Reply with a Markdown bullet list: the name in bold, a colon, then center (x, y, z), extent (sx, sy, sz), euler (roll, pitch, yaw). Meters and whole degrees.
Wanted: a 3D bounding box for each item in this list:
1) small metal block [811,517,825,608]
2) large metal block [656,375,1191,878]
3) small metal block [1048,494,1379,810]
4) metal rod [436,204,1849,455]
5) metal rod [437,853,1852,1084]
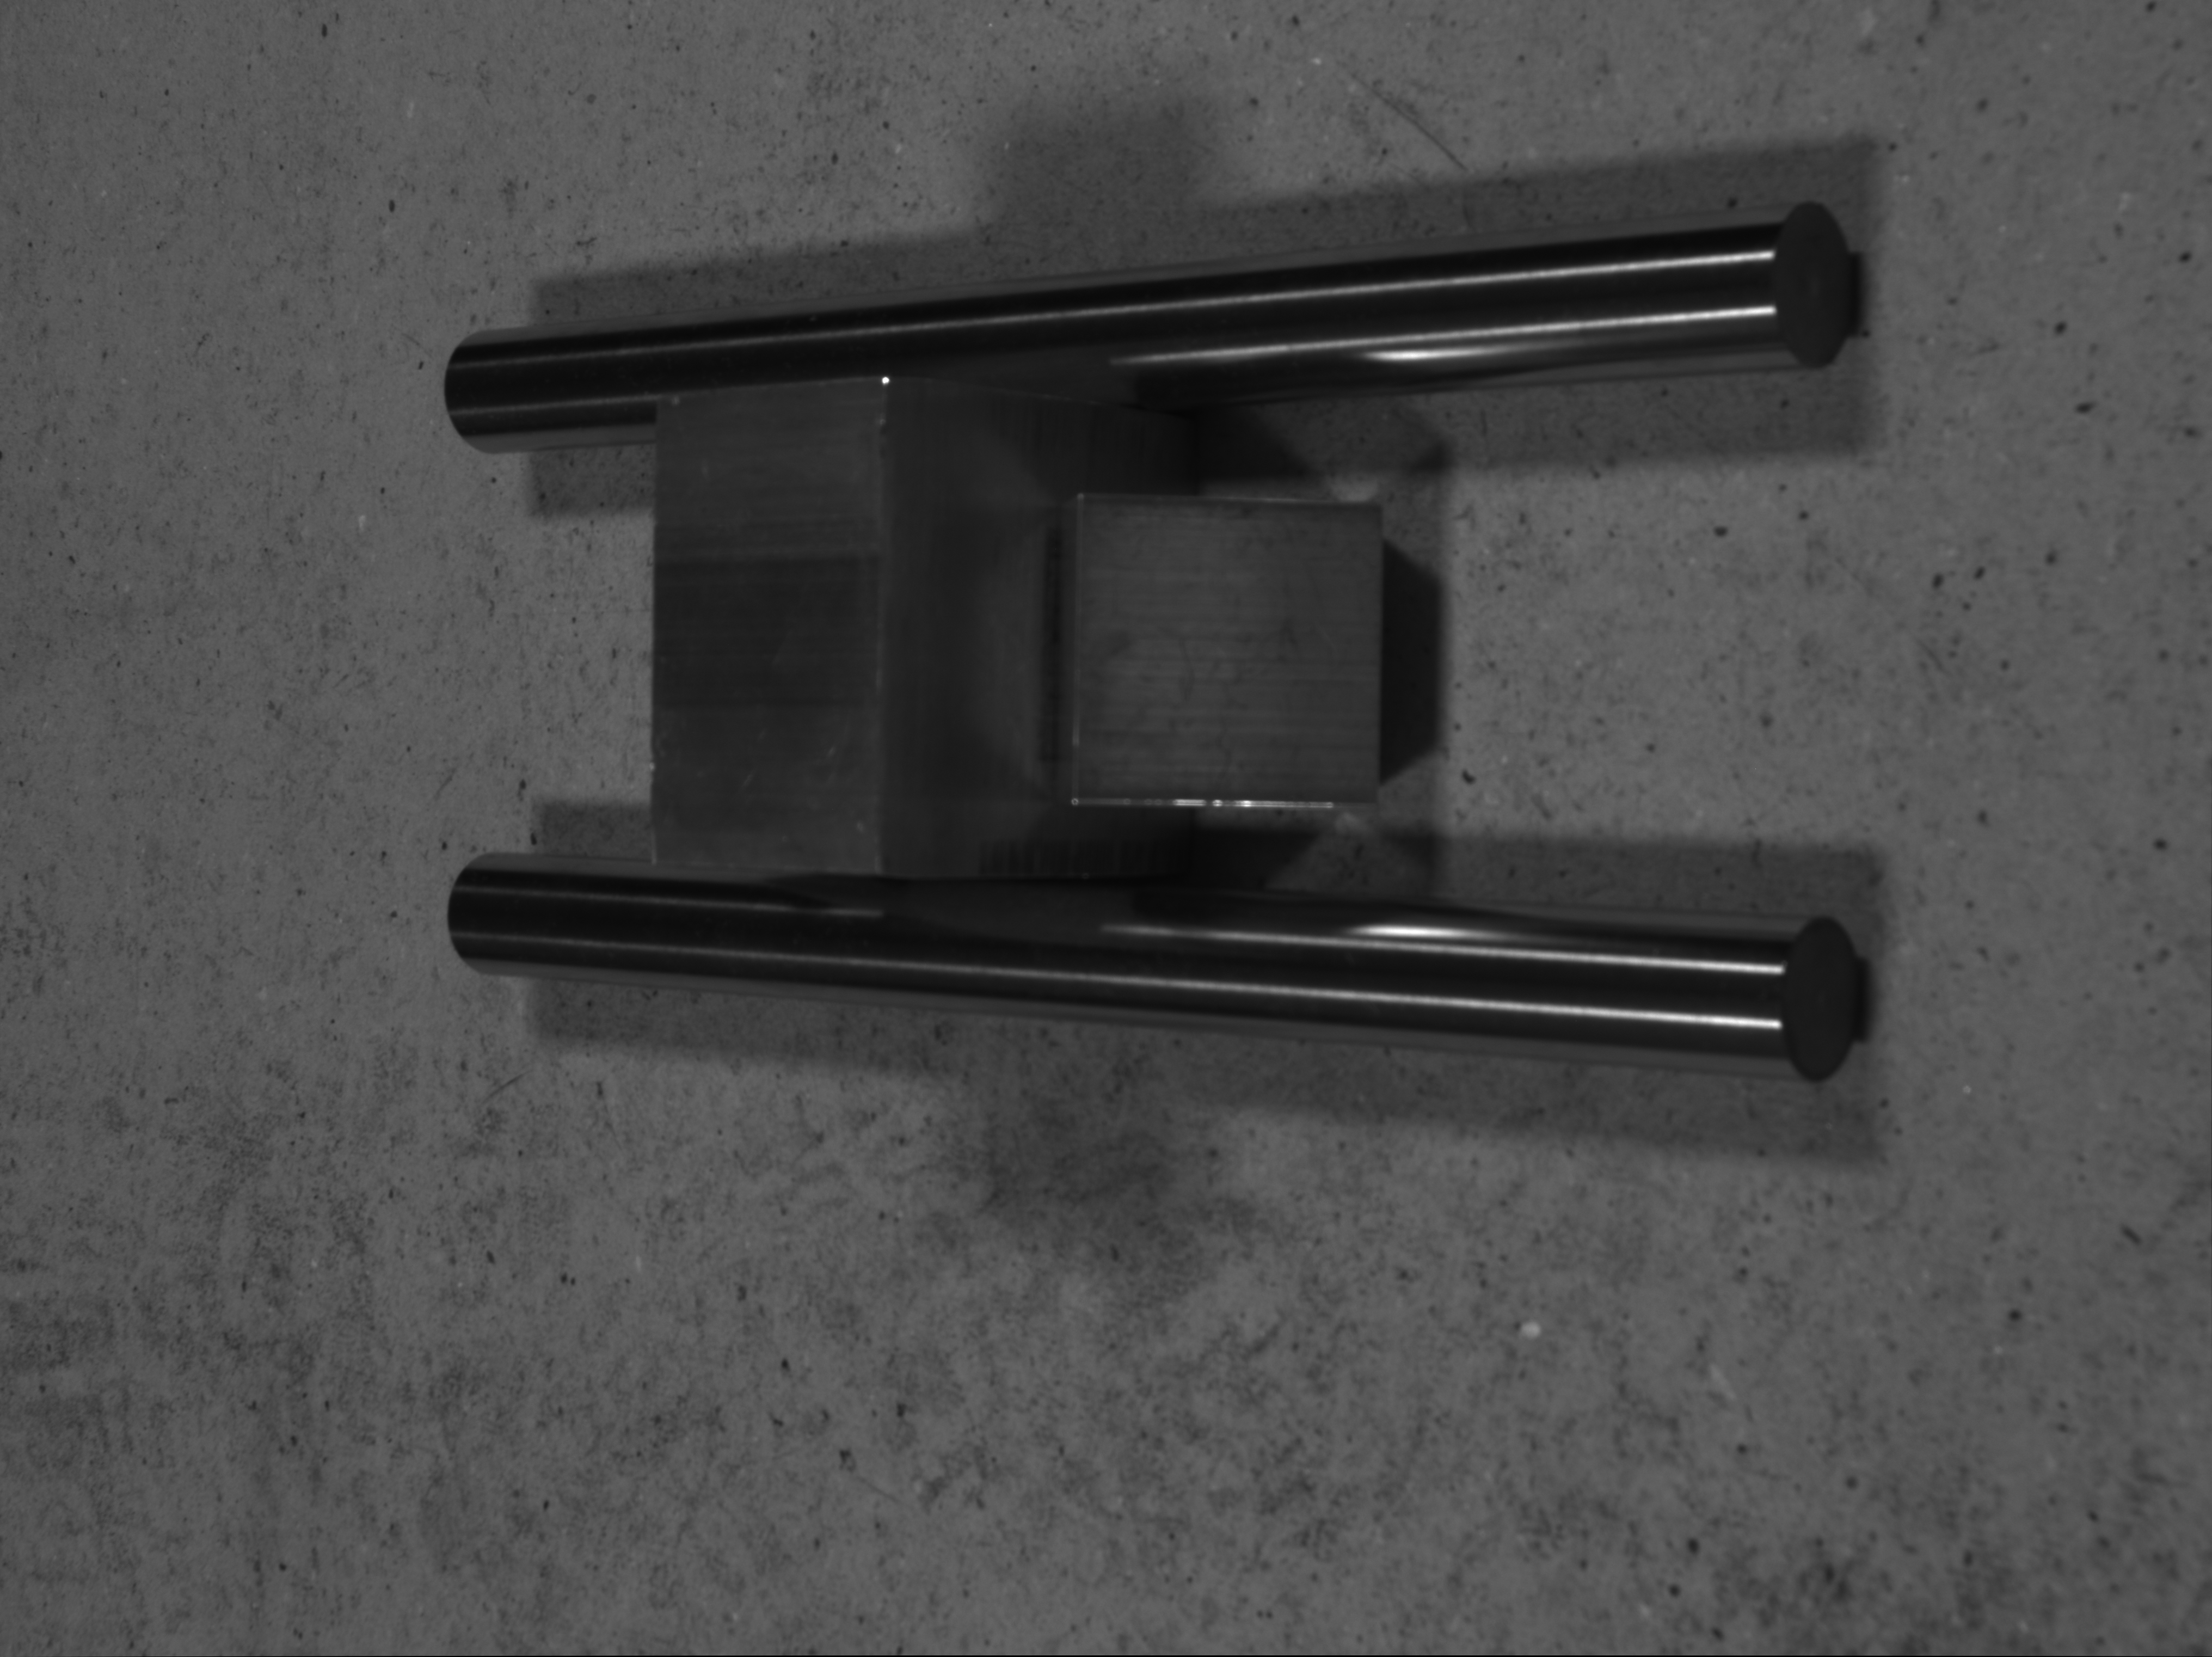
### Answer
- **small metal block**: center (-0.062, -0.032, 0.670), extent (0.025, 0.050, 0.050), euler (1, 91, 0)
- **large metal block**: center (-0.030, -0.032, 0.629), extent (0.050, 0.080, 0.080), euler (1, 90, 39)
- **small metal block**: center (0.017, -0.028, 0.605), extent (0.025, 0.050, 0.050), euler (-179, 90, -81)
- **metal rod**: center (-0.010, -0.084, 0.645), extent (0.299, 0.025, 0.025), euler (2, 91, 39)
- **metal rod**: center (-0.010, 0.021, 0.644), extent (0.299, 0.025, 0.025), euler (2, 91, 39)
